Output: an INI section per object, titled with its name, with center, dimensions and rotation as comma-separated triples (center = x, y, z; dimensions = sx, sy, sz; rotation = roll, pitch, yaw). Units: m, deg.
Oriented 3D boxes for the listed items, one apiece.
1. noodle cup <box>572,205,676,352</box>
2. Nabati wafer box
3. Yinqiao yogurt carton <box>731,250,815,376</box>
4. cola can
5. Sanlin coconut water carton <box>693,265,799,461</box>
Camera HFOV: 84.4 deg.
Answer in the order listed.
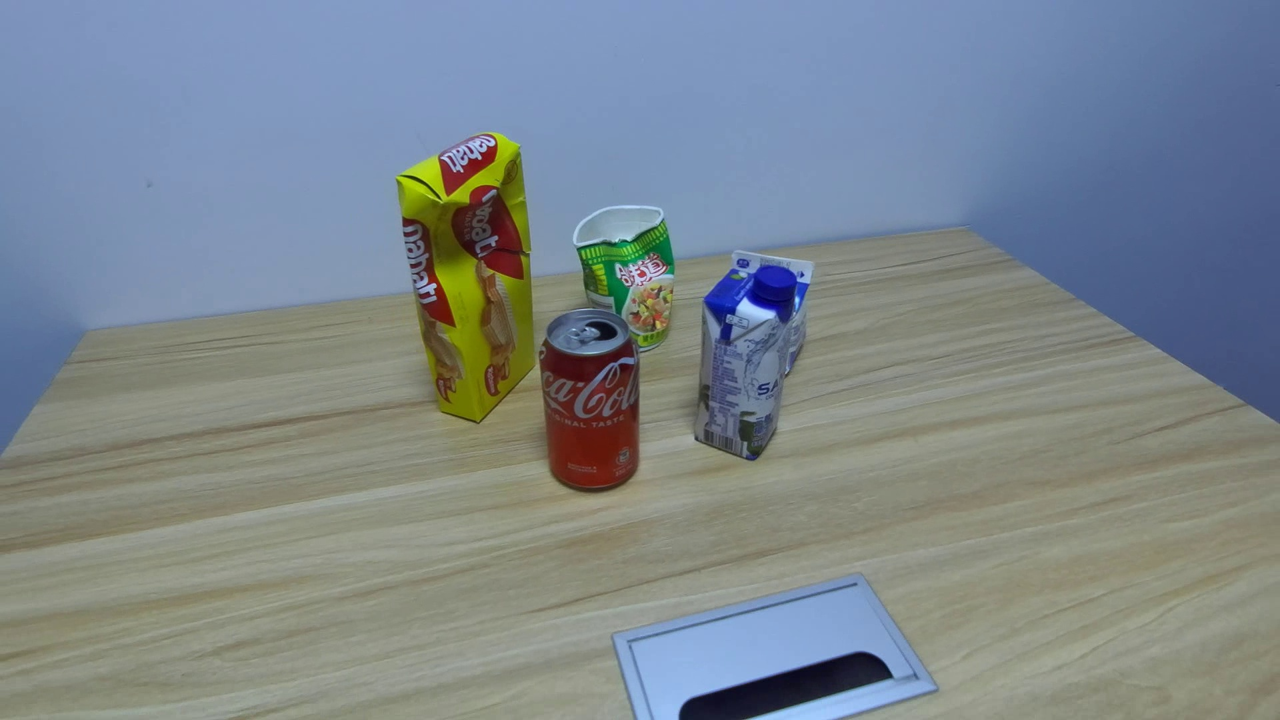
[noodle cup]
center = -0.008, -0.073, 0.639
dimensions = 0.083, 0.122, 0.075
rotation = -13, 28, 0
[Nabati wafer box]
center = -0.127, -0.058, 0.537
dimensions = 0.042, 0.204, 0.107
rotation = 15, 37, 19
[Yinqiao yogurt carton]
center = 0.107, -0.046, 0.618
dimensions = 0.077, 0.094, 0.071
rotation = 14, 31, 18
[cola can]
center = -0.033, 0.028, 0.489
dimensions = 0.068, 0.120, 0.067
rotation = 0, 34, 0
[Sanlin coconut water carton]
center = 0.076, -0.001, 0.507
dimensions = 0.060, 0.144, 0.061
rotation = 16, 39, 23
